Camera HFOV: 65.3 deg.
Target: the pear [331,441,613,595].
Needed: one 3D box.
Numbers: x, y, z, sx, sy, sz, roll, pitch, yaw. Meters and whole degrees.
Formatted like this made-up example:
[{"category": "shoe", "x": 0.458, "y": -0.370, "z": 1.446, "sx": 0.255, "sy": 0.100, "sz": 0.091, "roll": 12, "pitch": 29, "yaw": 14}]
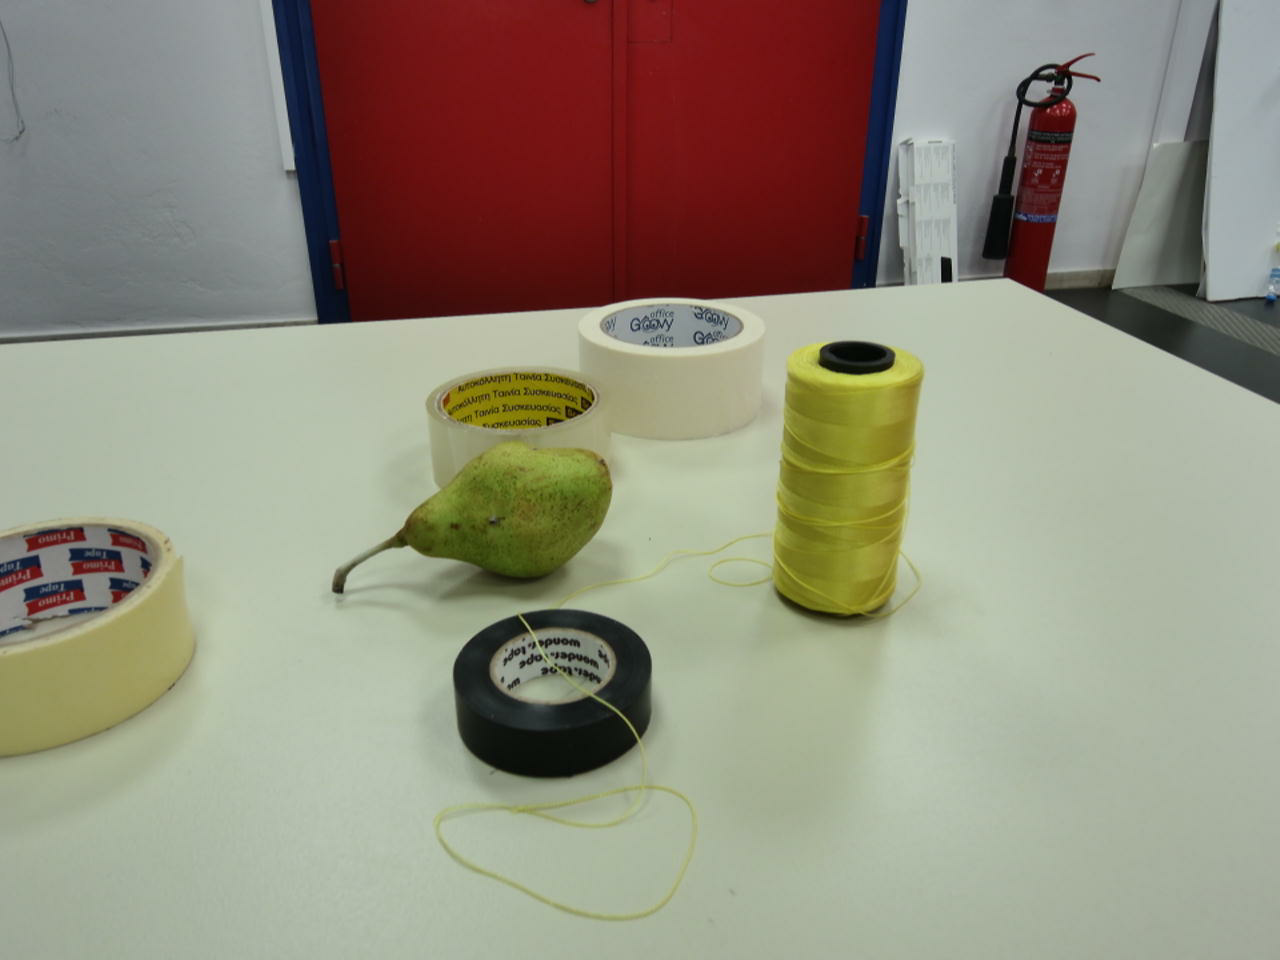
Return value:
[{"category": "pear", "x": -0.066, "y": 0.012, "z": 0.408, "sx": 0.111, "sy": 0.056, "sz": 0.056, "roll": 1, "pitch": 24, "yaw": 2}]
